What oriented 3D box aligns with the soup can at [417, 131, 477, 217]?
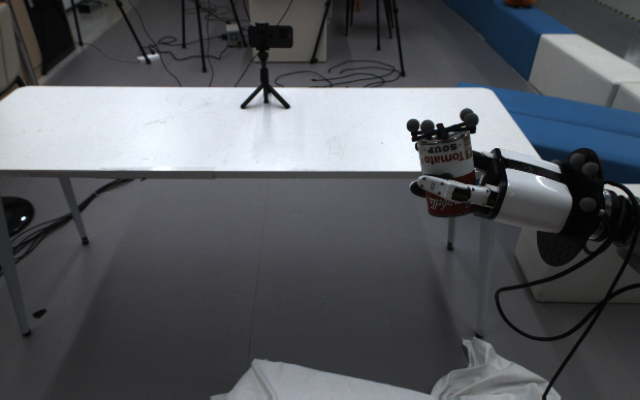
[{"bbox_3d":[0.169,-0.037,0.634,0.067,0.101,0.067,-12,17,4],"label":"soup can"}]
